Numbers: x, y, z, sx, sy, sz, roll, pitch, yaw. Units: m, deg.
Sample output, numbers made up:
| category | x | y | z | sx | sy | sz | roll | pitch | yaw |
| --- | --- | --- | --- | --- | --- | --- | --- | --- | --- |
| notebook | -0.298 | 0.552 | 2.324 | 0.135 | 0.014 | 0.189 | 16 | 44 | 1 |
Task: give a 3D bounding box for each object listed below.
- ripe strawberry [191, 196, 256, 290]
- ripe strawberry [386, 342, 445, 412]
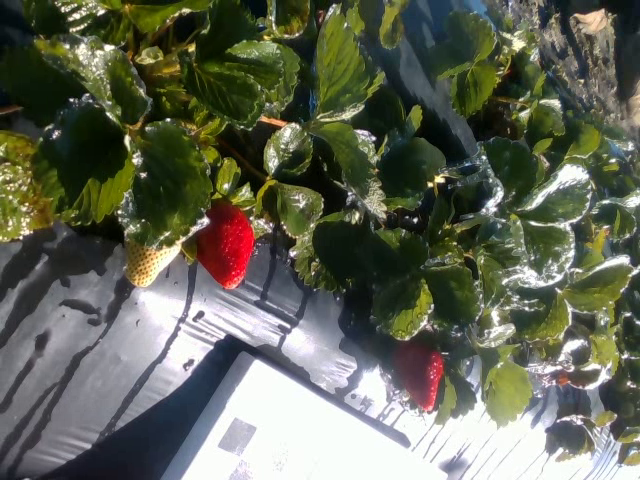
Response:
| category | x | y | z | sx | sy | sz | roll | pitch | yaw |
| --- | --- | --- | --- | --- | --- | --- | --- | --- | --- |
| ripe strawberry | -0.062 | 0.010 | 0.369 | 0.043 | 0.061 | 0.046 | 23 | -44 | -38 |
| ripe strawberry | 0.088 | 0.119 | 0.502 | 0.044 | 0.061 | 0.049 | -22 | -40 | 37 |
